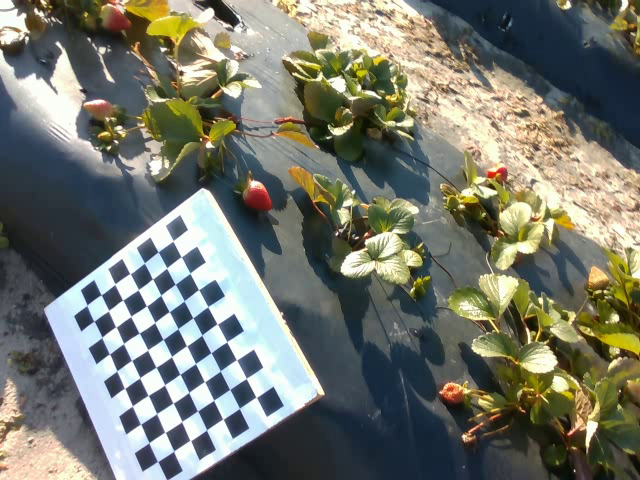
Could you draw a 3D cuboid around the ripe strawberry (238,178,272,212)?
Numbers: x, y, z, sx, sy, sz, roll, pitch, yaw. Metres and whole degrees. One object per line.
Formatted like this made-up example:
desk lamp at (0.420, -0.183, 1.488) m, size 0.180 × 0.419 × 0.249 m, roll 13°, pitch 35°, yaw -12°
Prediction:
ripe strawberry at (-0.084, -0.059, 0.921) m, size 0.063 × 0.045 × 0.043 m, roll 40°, pitch 3°, yaw 15°
